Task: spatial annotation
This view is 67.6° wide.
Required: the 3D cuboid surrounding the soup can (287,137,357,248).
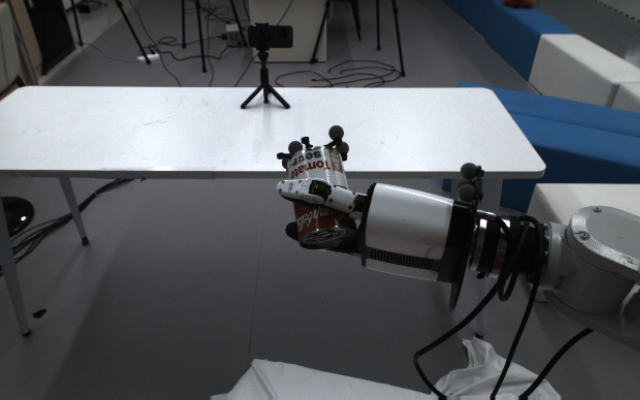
[{"bbox_3d":[0.003,-0.003,0.557,0.067,0.067,0.101,-6,67,-12],"label":"soup can"}]
